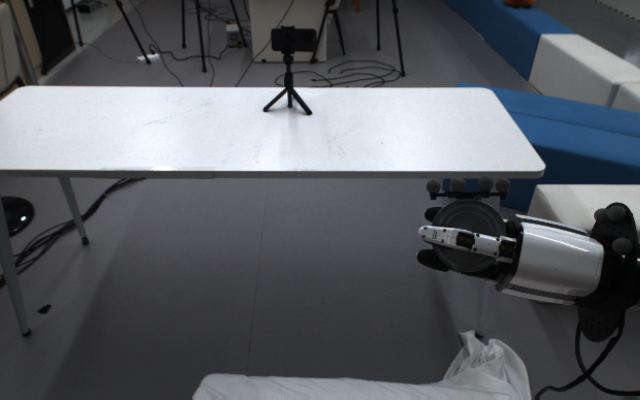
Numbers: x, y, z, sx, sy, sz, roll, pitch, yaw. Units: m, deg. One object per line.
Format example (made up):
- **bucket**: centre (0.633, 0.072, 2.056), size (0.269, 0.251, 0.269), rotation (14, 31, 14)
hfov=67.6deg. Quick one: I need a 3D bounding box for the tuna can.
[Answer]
- **tuna can**: centre (0.178, 0.040, 0.582), size (0.085, 0.085, 0.034), rotation (15, 2, 18)
